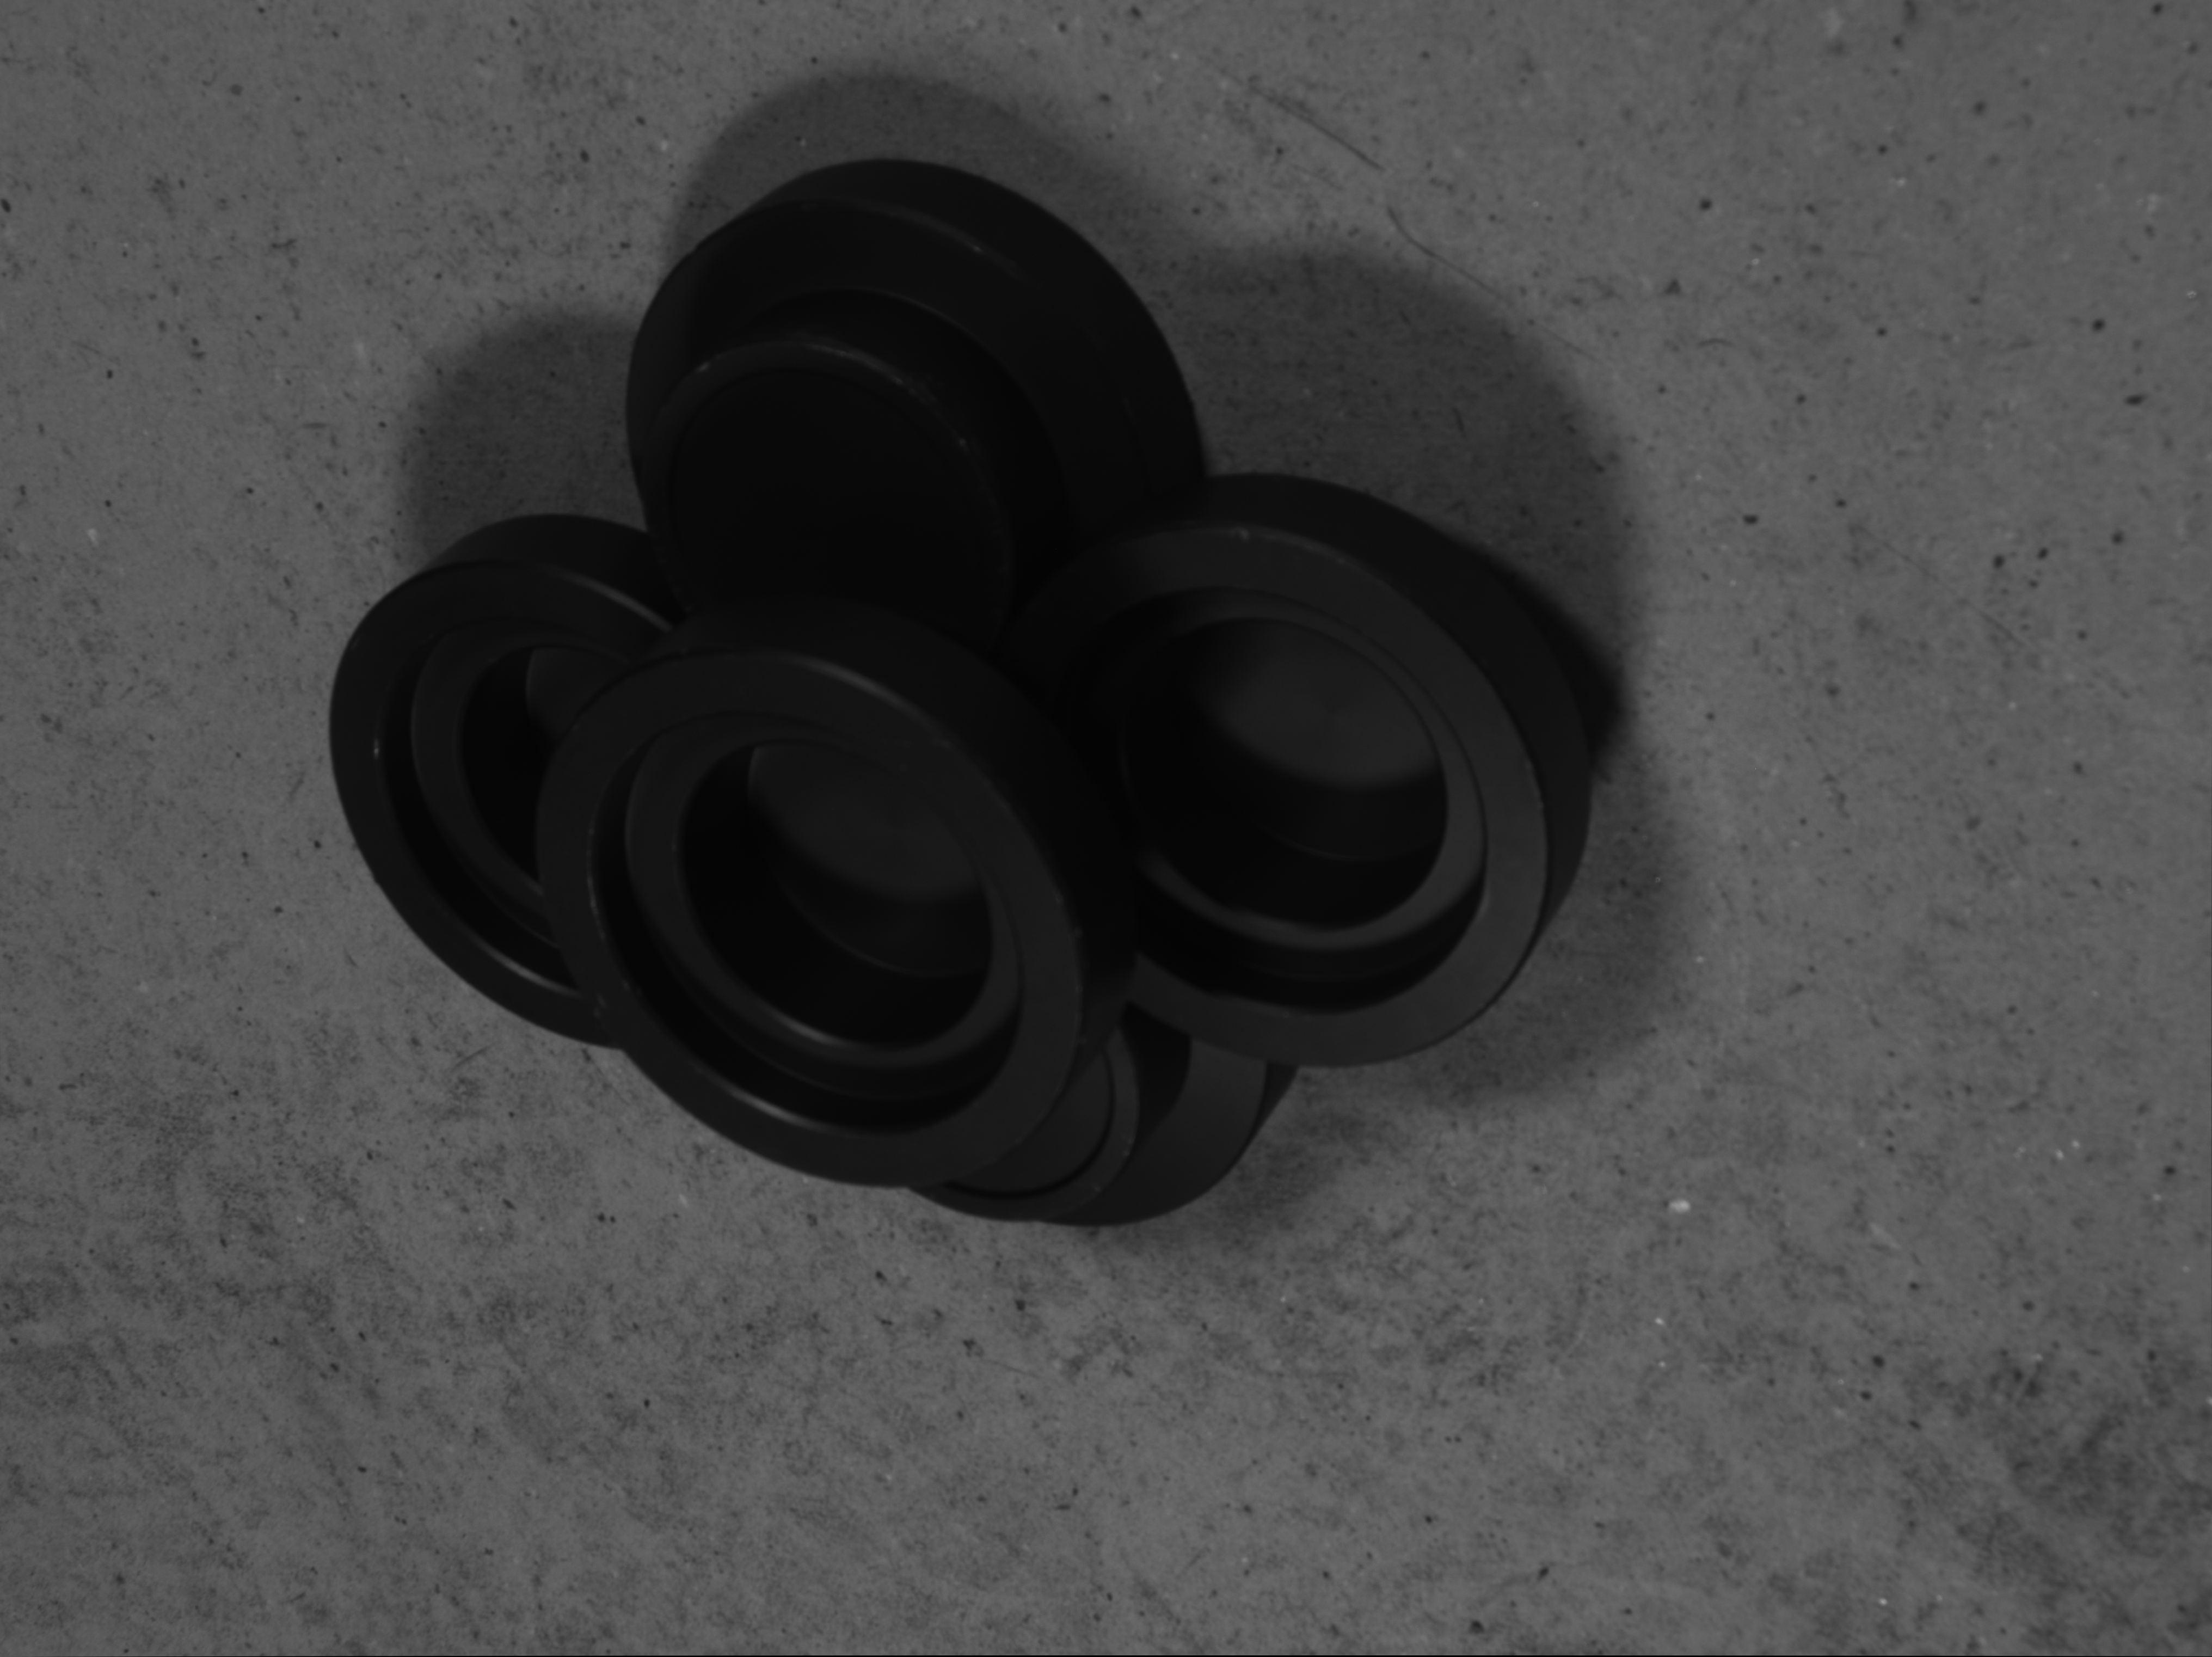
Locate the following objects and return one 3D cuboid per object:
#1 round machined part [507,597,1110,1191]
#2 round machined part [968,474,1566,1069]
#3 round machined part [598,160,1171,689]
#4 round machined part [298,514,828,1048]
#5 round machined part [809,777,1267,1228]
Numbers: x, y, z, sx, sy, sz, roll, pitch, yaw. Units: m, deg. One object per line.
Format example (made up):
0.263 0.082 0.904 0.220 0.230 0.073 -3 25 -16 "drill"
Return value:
-0.044 0.007 0.593 0.098 0.042 0.098 12 123 20 "round machined part"
0.028 -0.013 0.598 0.098 0.042 0.098 12 123 20 "round machined part"
-0.042 -0.057 0.607 0.098 0.042 0.098 12 123 20 "round machined part"
-0.092 -0.012 0.659 0.098 0.042 0.098 12 123 20 "round machined part"
-0.021 0.030 0.649 0.098 0.042 0.098 12 123 20 "round machined part"
